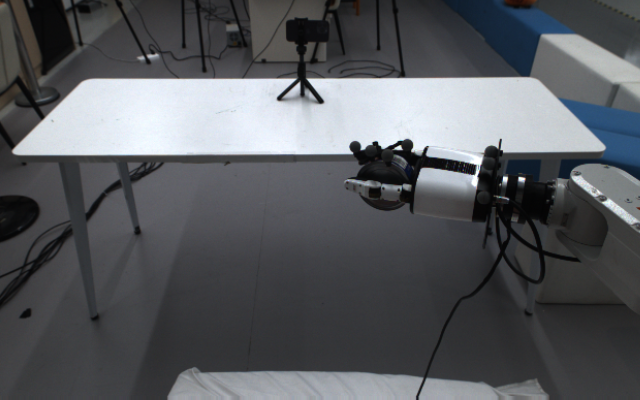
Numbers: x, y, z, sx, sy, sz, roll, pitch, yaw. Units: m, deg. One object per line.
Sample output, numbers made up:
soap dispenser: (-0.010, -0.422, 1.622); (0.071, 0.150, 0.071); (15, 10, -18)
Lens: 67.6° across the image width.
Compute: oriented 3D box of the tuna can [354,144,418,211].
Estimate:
tuna can: (0.102, -0.029, 0.737); (0.085, 0.085, 0.034); (15, 34, 17)
